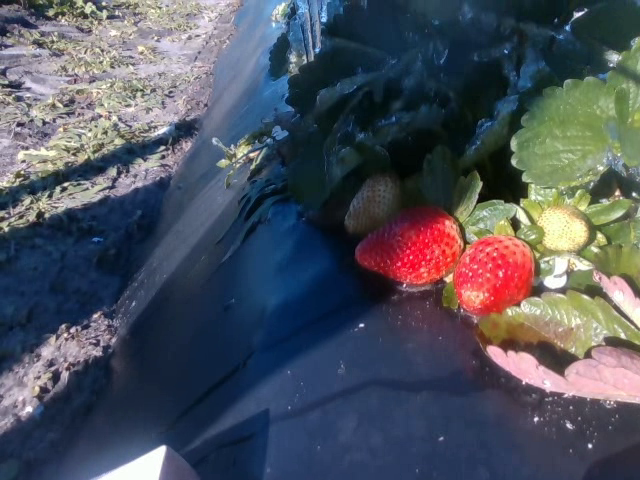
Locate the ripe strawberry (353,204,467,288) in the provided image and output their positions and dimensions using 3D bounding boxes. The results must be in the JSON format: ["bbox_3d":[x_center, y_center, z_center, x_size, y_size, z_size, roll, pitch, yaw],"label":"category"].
[{"bbox_3d":[0.034,0.005,0.257,0.051,0.040,0.036,-9,10,-33],"label":"ripe strawberry"}]

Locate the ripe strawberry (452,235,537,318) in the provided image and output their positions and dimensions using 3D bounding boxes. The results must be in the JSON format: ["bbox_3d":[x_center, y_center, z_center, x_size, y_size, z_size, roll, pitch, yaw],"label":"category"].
[{"bbox_3d":[0.068,0.015,0.238,0.036,0.030,0.041,-16,28,38],"label":"ripe strawberry"}]
